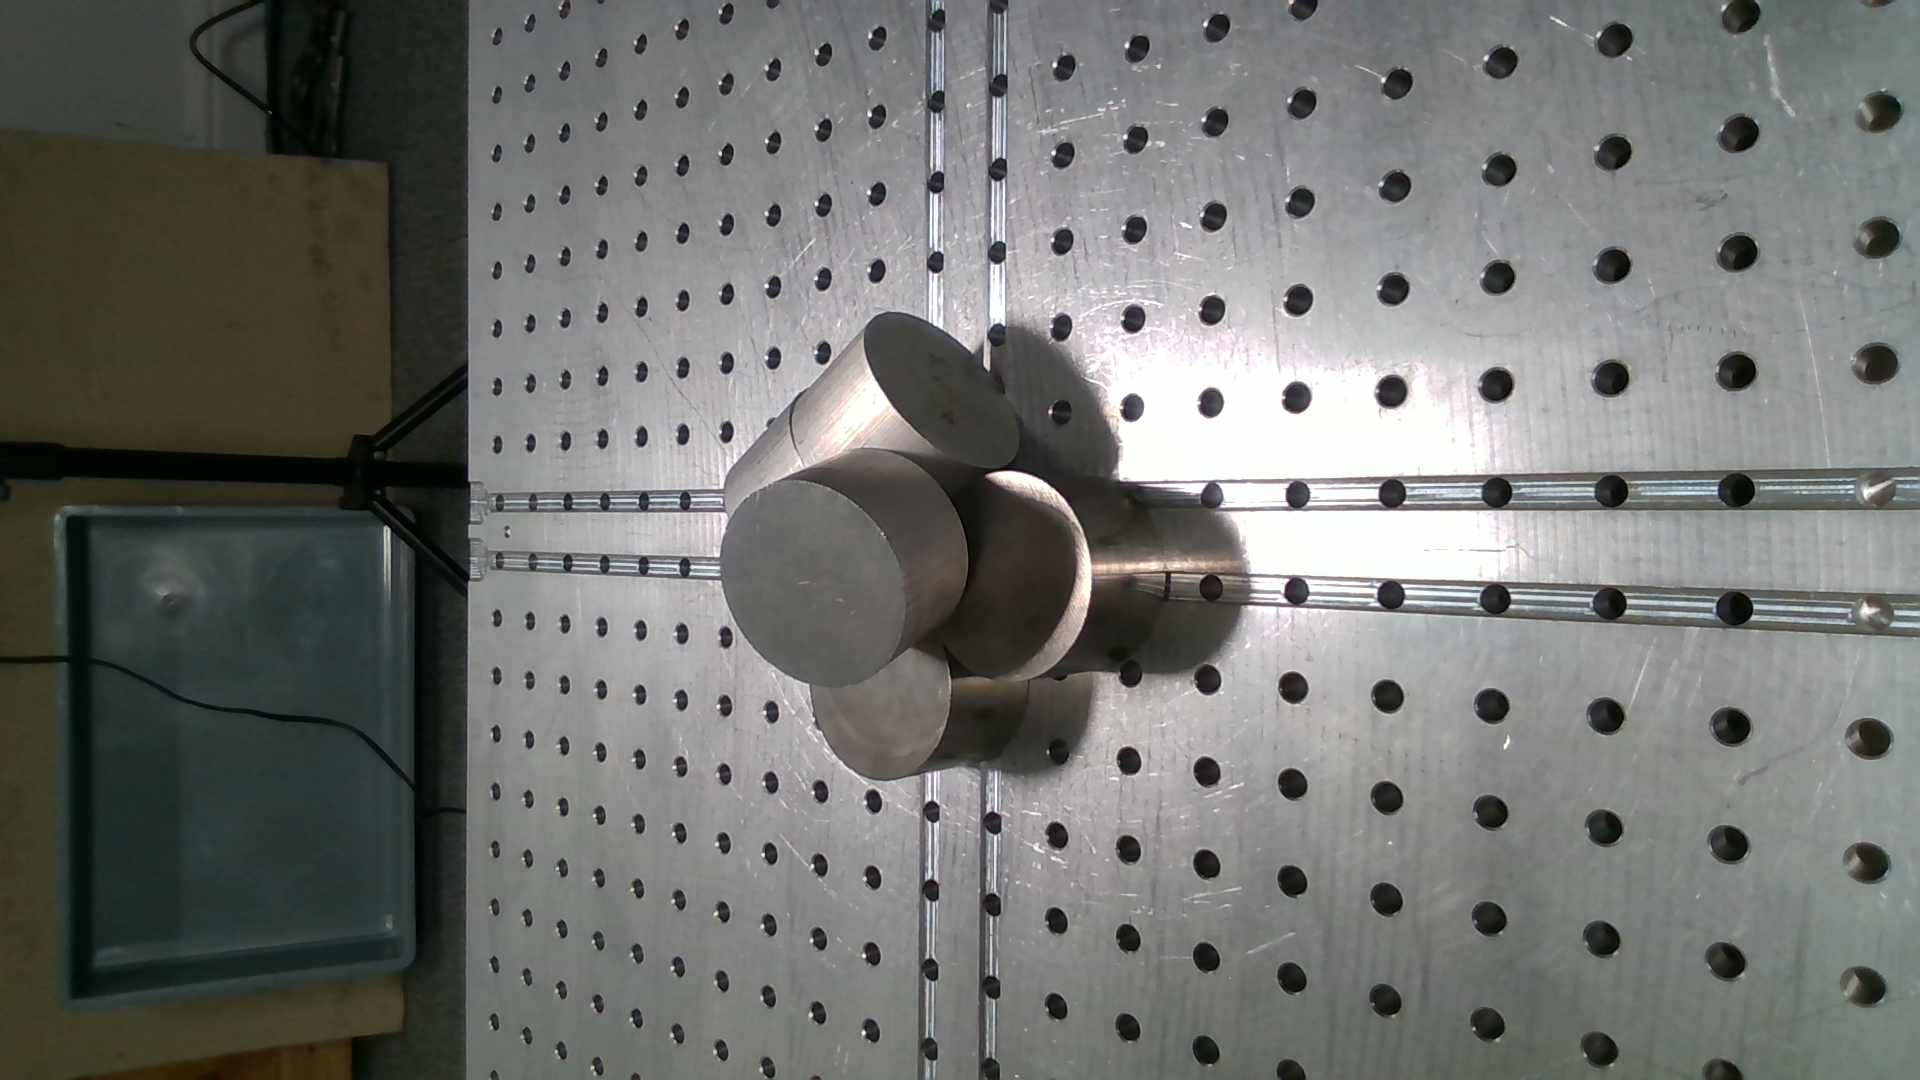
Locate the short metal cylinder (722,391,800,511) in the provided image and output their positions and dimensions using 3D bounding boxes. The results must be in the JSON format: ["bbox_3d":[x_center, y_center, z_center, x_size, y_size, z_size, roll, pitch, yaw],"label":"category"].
[{"bbox_3d":[-0.055,-0.020,0.595,0.050,0.080,0.080,-41,65,33],"label":"short metal cylinder"}]

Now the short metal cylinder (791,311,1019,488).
[{"bbox_3d":[-0.022,-0.047,0.567,0.050,0.080,0.080,-42,65,32],"label":"short metal cylinder"}]

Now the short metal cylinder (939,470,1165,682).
[{"bbox_3d":[0.033,0.014,0.540,0.080,0.050,0.080,0,91,40],"label":"short metal cylinder"}]

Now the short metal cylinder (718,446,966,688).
[{"bbox_3d":[-0.044,0.009,0.522,0.080,0.050,0.080,10,112,25],"label":"short metal cylinder"}]

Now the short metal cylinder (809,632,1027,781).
[{"bbox_3d":[-0.018,0.059,0.584,0.080,0.050,0.080,0,91,40],"label":"short metal cylinder"}]
